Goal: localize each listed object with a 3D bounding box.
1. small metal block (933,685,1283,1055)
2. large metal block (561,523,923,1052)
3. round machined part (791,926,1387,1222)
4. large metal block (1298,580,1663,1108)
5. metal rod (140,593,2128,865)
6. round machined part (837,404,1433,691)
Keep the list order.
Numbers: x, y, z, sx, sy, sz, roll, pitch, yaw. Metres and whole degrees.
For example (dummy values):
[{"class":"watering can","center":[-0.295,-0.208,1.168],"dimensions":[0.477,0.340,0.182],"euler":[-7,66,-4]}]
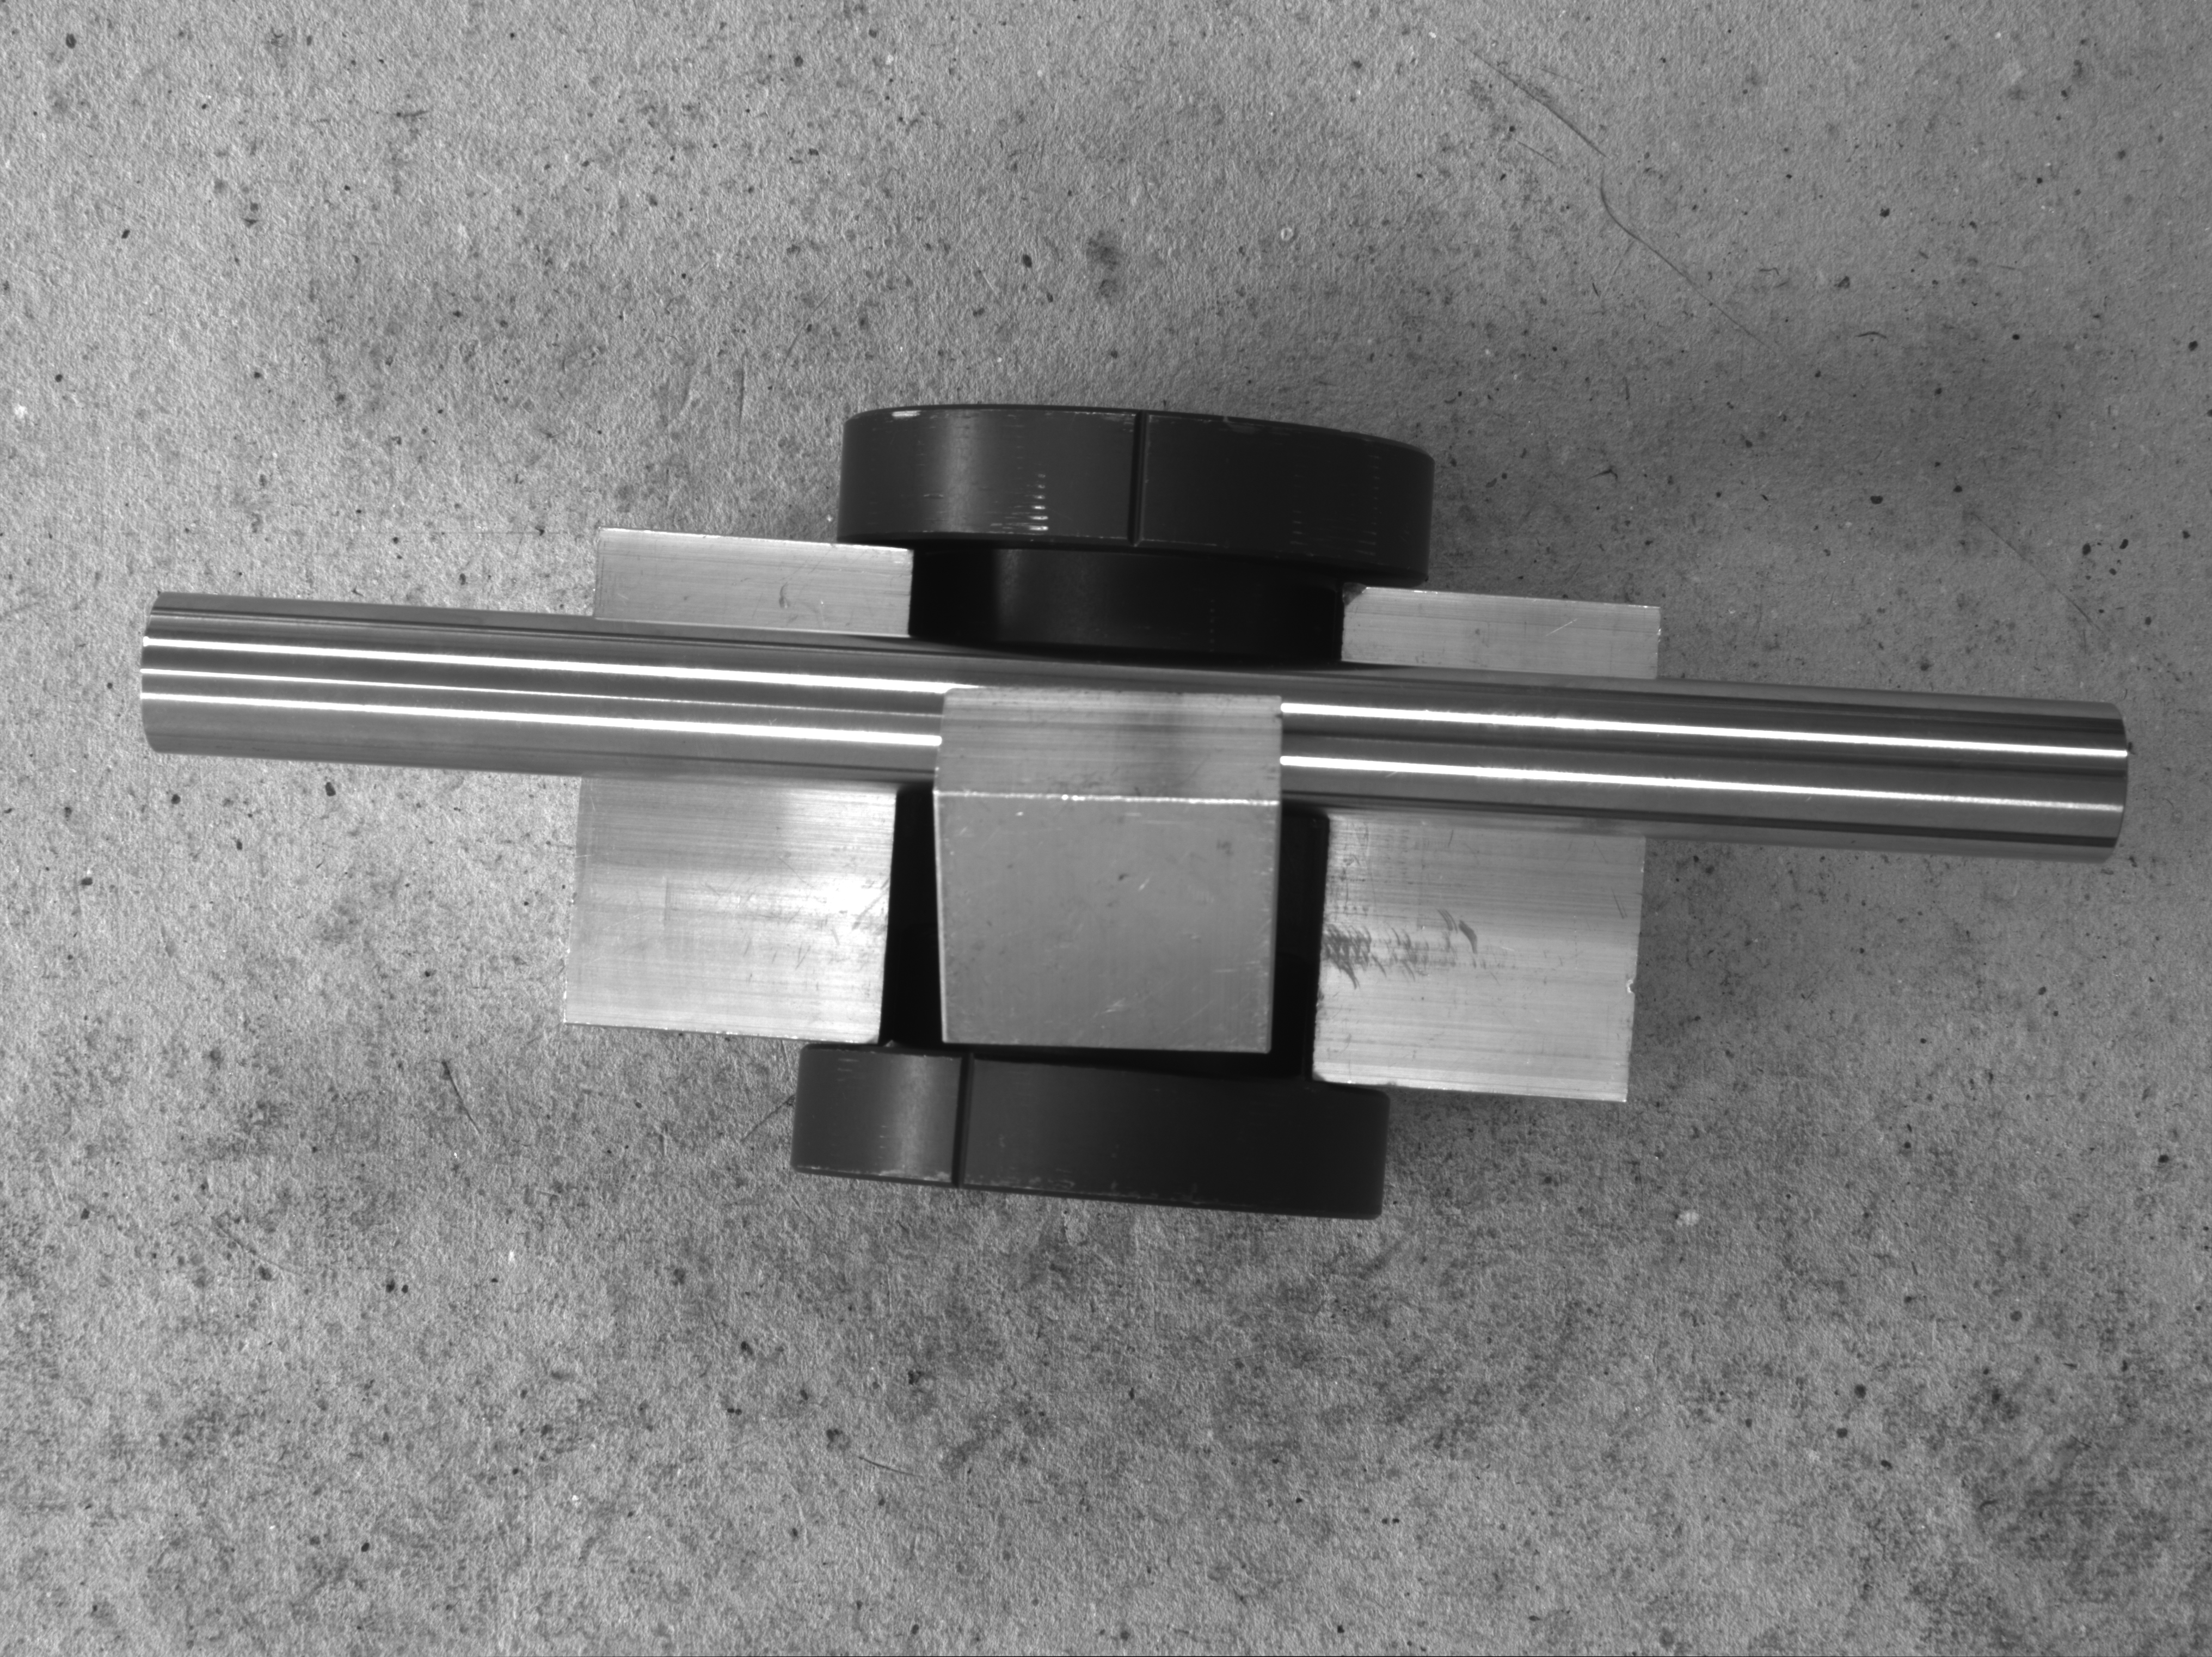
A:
[{"class":"small metal block","center":[0.001,0.007,0.553],"dimensions":[0.050,0.025,0.050],"euler":[2,130,2]},{"class":"large metal block","center":[-0.058,-0.006,0.619],"dimensions":[0.050,0.080,0.080],"euler":[4,90,0]},{"class":"round machined part","center":[-0.002,0.040,0.609],"dimensions":[0.098,0.098,0.042],"euler":[5,85,0]},{"class":"large metal block","center":[0.060,0.003,0.619],"dimensions":[0.050,0.080,0.080],"euler":[4,90,0]},{"class":"metal rod","center":[0.004,-0.015,0.566],"dimensions":[0.300,0.025,0.025],"euler":[3,90,0]},{"class":"round machined part","center":[0.004,-0.044,0.610],"dimensions":[0.098,0.098,0.042],"euler":[4,91,0]}]
